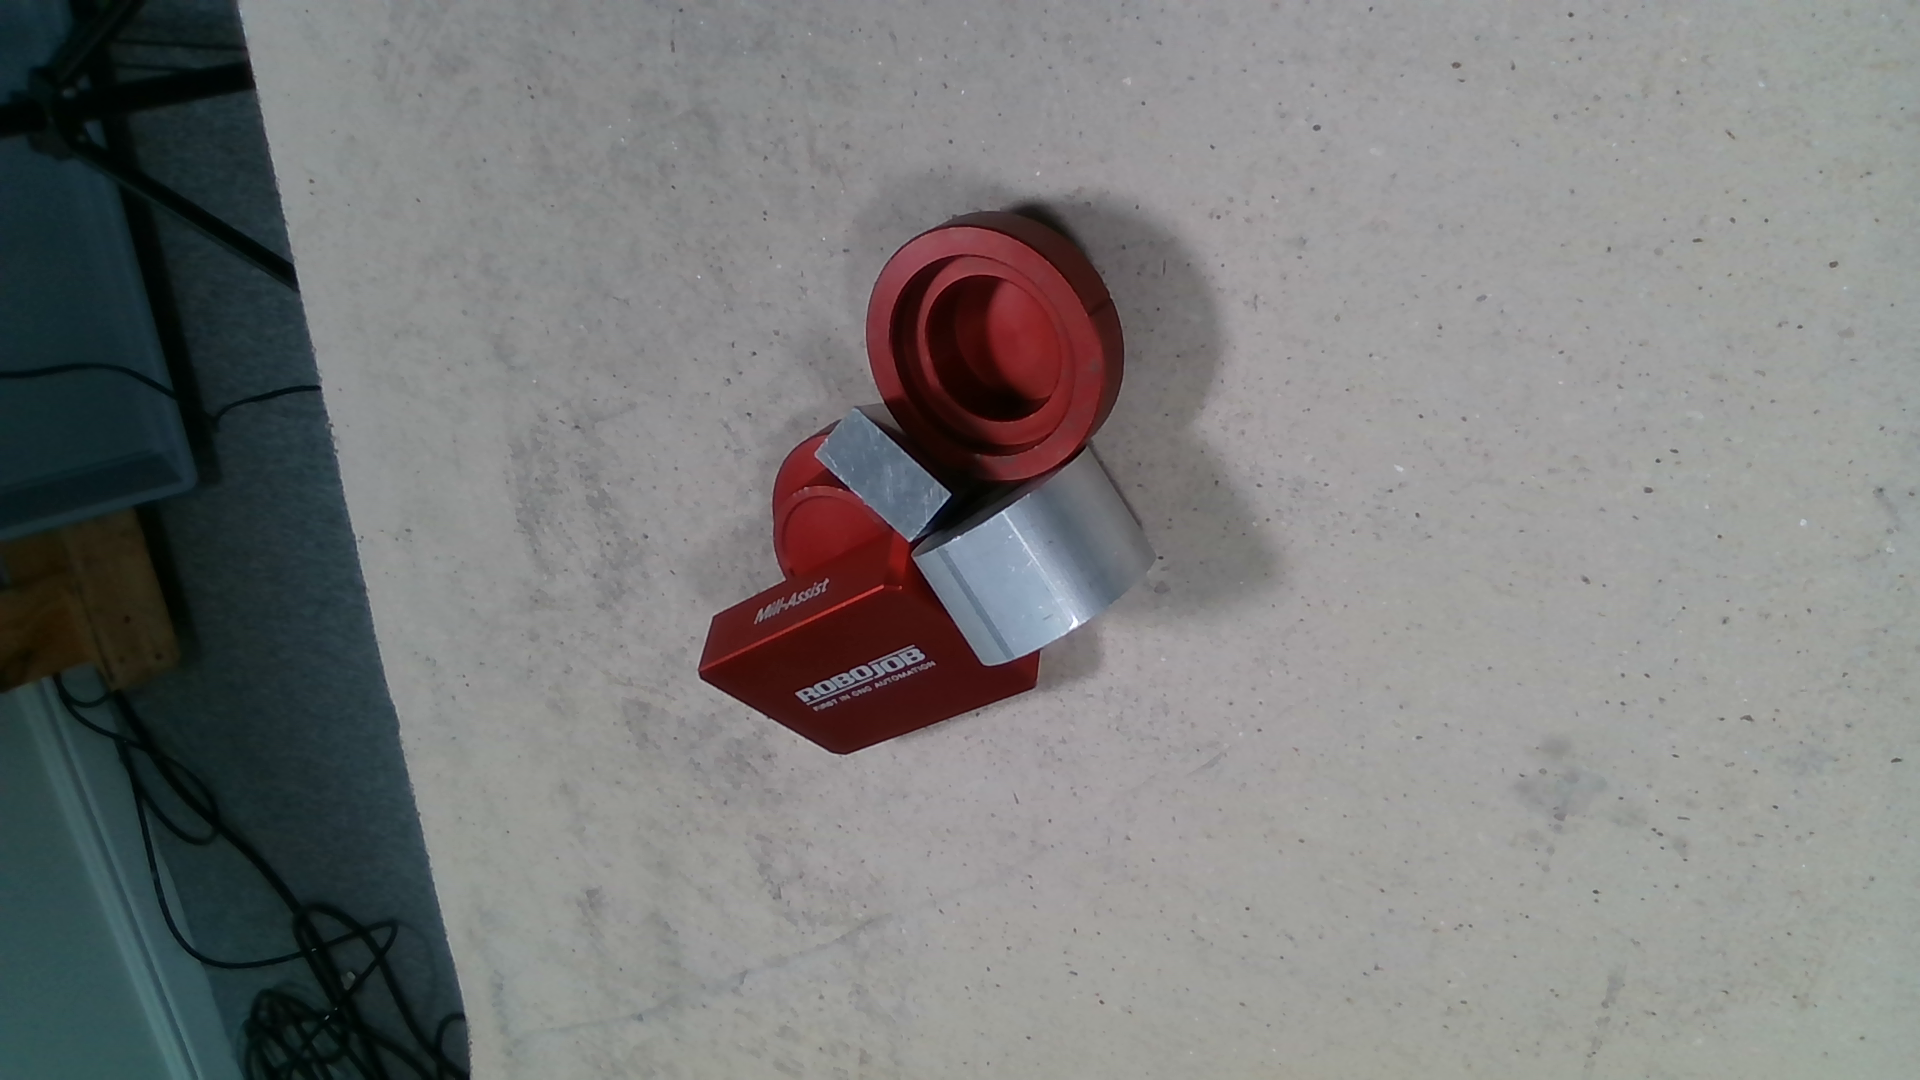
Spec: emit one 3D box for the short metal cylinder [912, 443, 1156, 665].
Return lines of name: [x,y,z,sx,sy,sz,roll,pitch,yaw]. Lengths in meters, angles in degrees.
short metal cylinder: [0.029,0.004,0.530,0.080,0.080,0.050,-28,99,39]

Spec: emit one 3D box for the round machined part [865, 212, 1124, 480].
round machined part: [0.016,-0.075,0.518,0.098,0.042,0.098,14,122,25]

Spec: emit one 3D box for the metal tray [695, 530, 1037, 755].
metal tray: [-0.041,0.048,0.600,0.130,0.030,0.090,-24,132,38]

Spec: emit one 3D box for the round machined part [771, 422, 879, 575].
round machined part: [-0.042,-0.002,0.594,0.098,0.042,0.098,14,122,25]

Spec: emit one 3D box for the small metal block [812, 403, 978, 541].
small metal block: [-0.024,-0.029,0.540,0.050,0.050,0.025,42,105,5]
